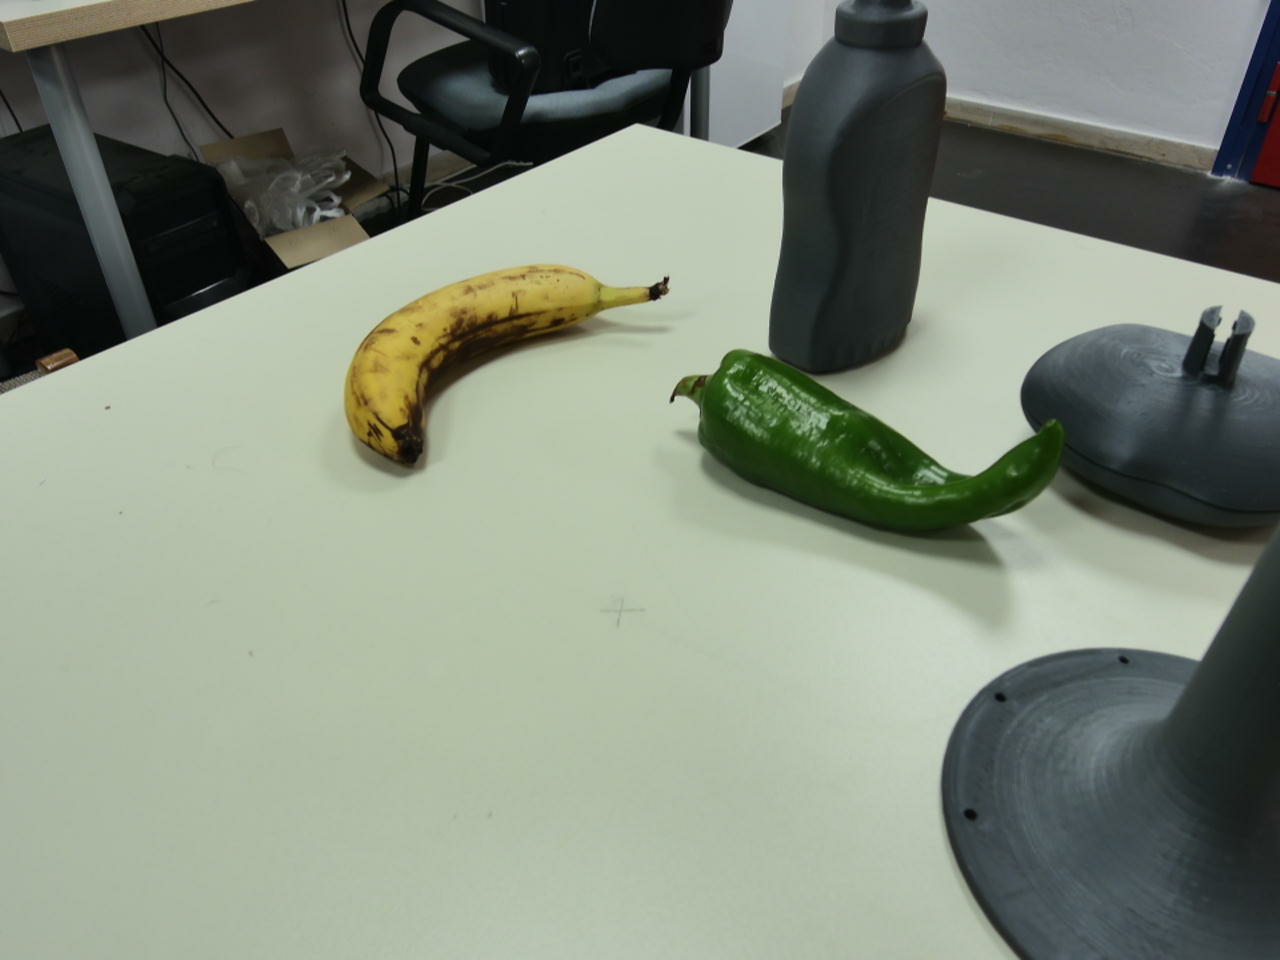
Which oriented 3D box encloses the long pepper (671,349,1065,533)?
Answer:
[{"bbox_3d":[0.085,-0.020,0.428,0.175,0.065,0.058,25,43,30],"label":"long pepper"}]
